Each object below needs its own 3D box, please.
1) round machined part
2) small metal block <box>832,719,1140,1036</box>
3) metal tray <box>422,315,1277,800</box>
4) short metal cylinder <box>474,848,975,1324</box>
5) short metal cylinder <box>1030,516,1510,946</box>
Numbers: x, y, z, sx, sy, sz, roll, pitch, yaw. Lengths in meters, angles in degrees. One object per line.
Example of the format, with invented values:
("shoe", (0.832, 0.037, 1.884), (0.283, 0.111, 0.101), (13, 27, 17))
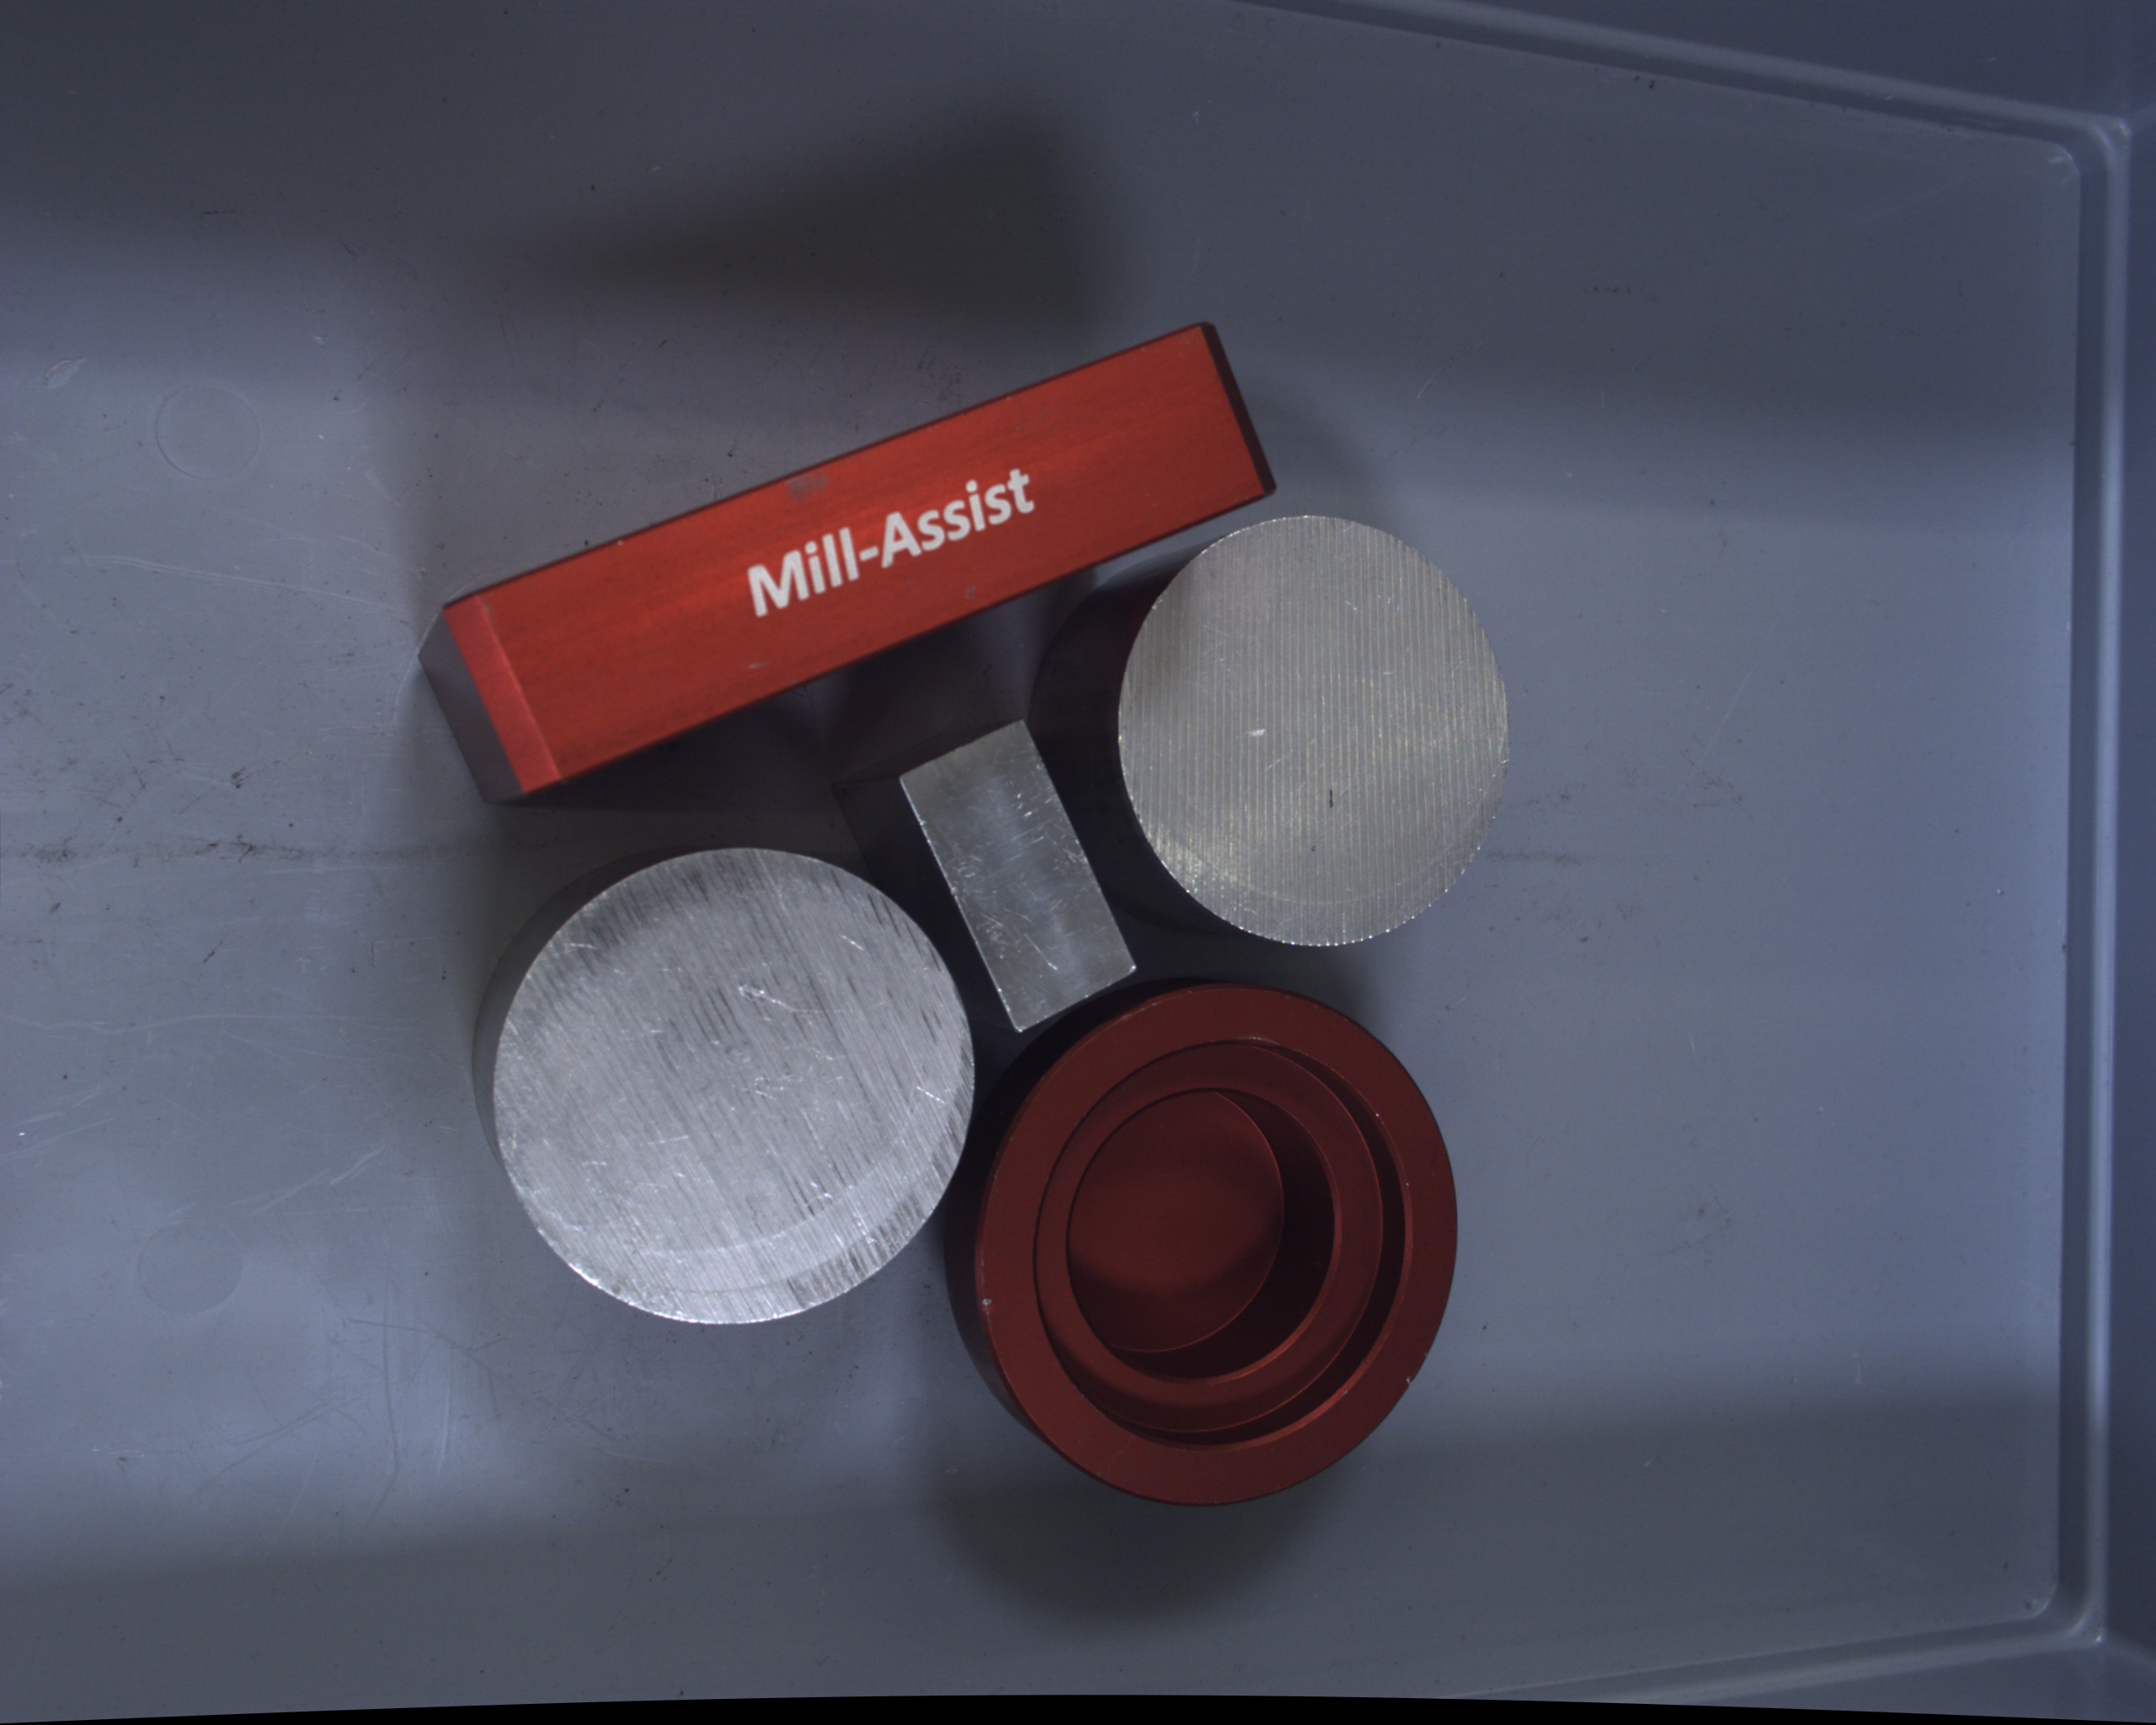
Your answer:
("round machined part", (0.021, 0.071, 0.407), (0.099, 0.042, 0.097), (0, 90, -20))
("small metal block", (-0.018, 0.002, 0.388), (0.025, 0.050, 0.050), (-27, 99, -18))
("metal tray", (-0.043, -0.050, 0.358), (0.131, 0.090, 0.030), (-25, 99, -18))
("short metal cylinder", (-0.064, 0.037, 0.372), (0.081, 0.050, 0.079), (0, 90, -20))
("short metal cylinder", (0.036, -0.024, 0.409), (0.081, 0.050, 0.079), (0, 90, -20))
